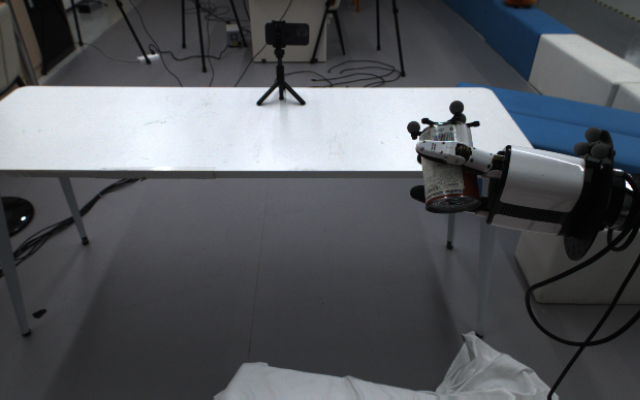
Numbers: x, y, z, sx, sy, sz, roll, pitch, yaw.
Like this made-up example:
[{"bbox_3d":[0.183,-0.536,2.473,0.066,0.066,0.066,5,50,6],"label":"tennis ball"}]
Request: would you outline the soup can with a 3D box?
[{"bbox_3d":[0.165,-0.043,0.621,0.067,0.067,0.101,0,72,-4],"label":"soup can"}]
